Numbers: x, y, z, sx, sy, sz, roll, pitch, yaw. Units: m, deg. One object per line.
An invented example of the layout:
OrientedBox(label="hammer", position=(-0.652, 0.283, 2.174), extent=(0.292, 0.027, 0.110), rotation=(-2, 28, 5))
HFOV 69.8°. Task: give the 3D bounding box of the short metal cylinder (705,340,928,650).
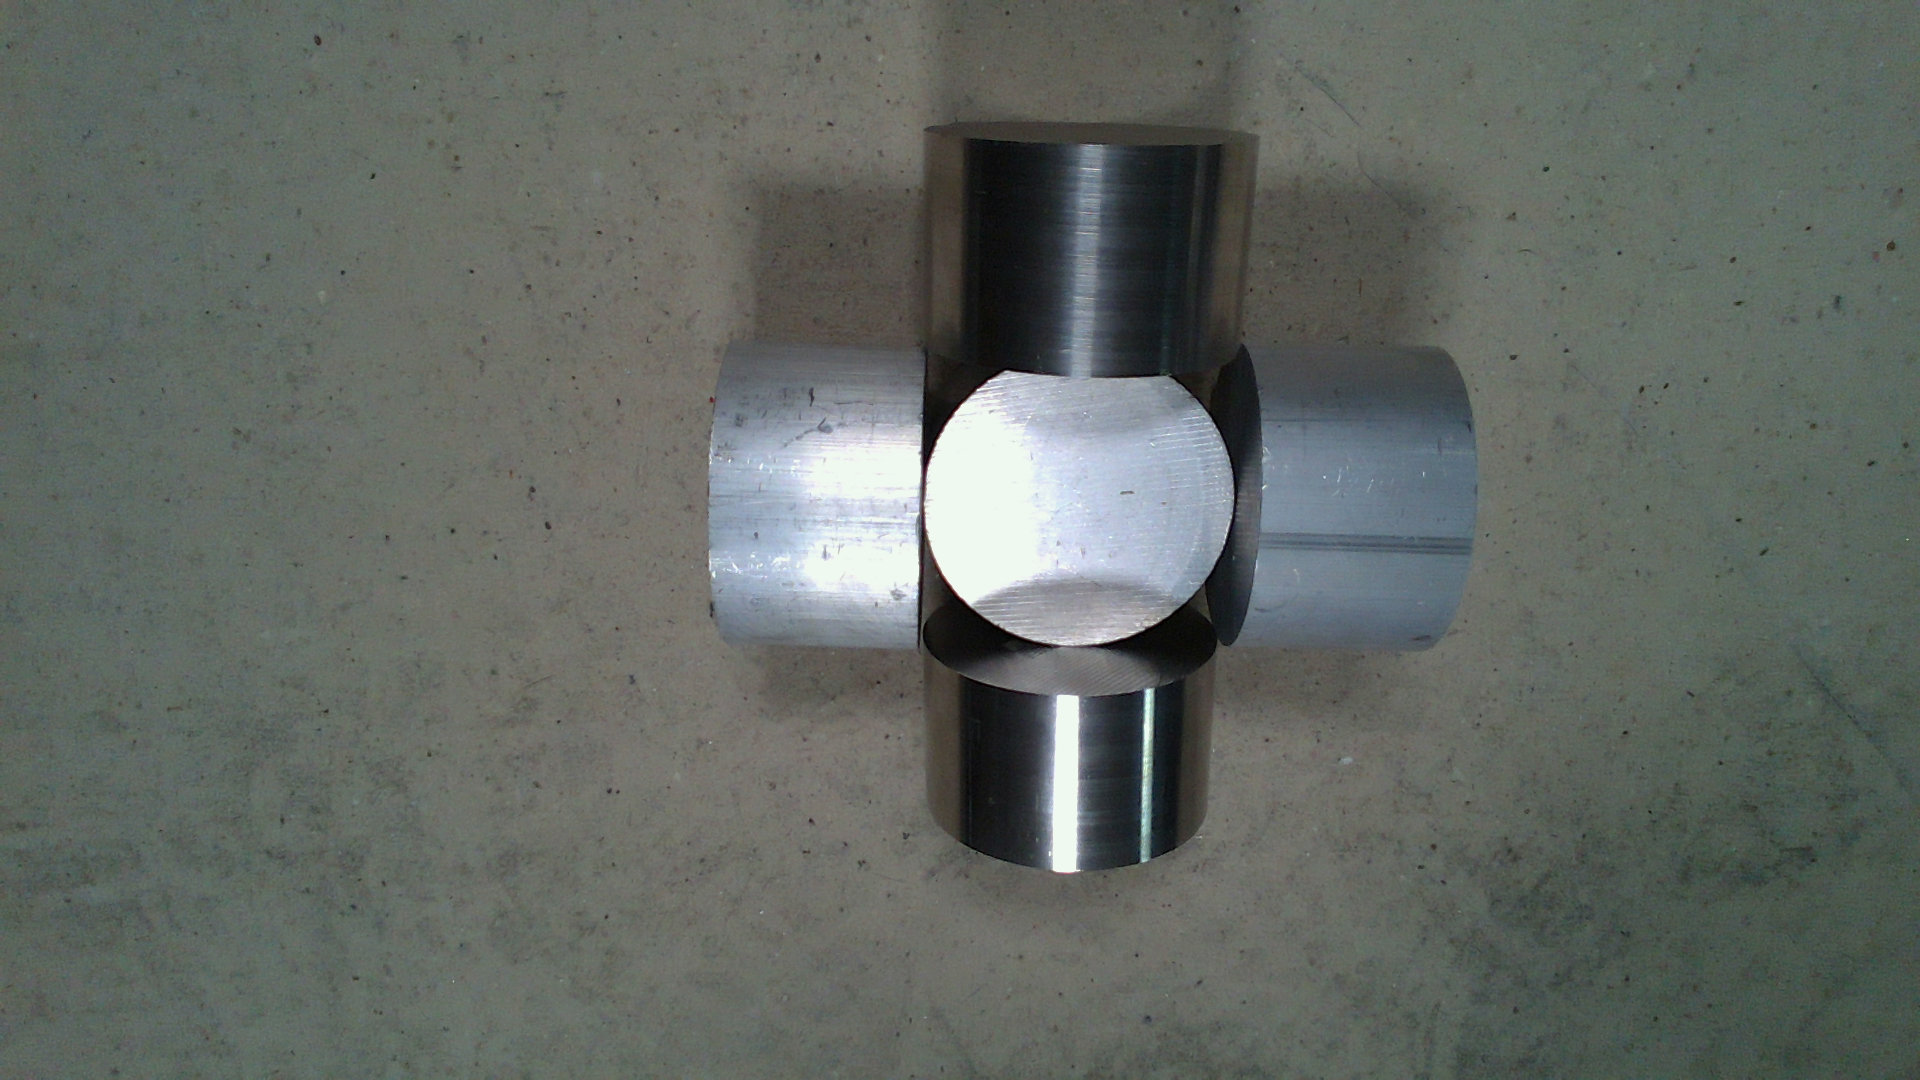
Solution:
OrientedBox(label="short metal cylinder", position=(-0.035, -0.012, 0.361), extent=(0.050, 0.080, 0.080), rotation=(2, 110, 0))

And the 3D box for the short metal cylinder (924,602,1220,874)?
OrientedBox(label="short metal cylinder", position=(0.030, 0.049, 0.383), extent=(0.080, 0.080, 0.050), rotation=(0, 110, 0))

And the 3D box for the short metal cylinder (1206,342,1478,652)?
OrientedBox(label="short metal cylinder", position=(0.096, -0.011, 0.361), extent=(0.050, 0.080, 0.080), rotation=(2, 110, 0))

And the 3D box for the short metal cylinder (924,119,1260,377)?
OrientedBox(label="short metal cylinder", position=(0.031, -0.074, 0.337), extent=(0.080, 0.080, 0.050), rotation=(1, 111, -1))

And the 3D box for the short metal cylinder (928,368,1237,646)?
OrientedBox(label="short metal cylinder", position=(0.031, -0.018, 0.375), extent=(0.080, 0.050, 0.080), rotation=(0, 110, 0))
